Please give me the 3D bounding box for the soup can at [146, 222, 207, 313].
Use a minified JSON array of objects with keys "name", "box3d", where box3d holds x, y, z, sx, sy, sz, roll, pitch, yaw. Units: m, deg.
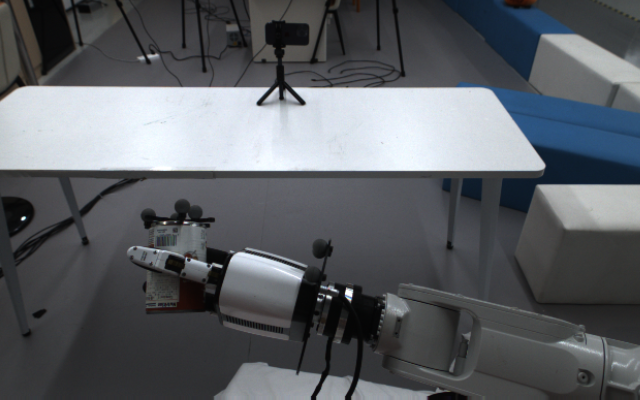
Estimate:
[{"name":"soup can","box3d":[-0.164,0.081,0.563,0.067,0.067,0.101,-1,77,-5]}]
